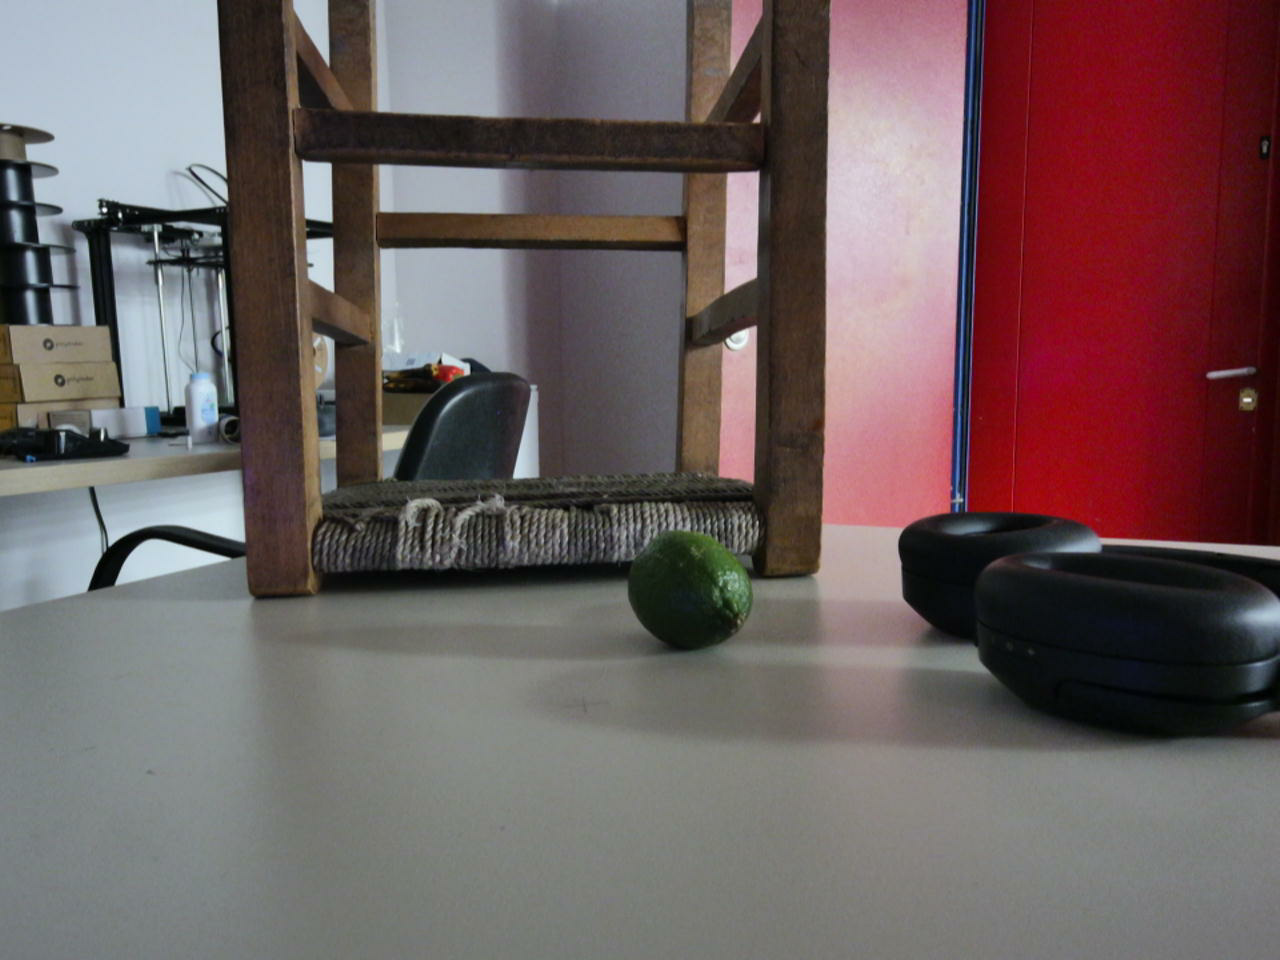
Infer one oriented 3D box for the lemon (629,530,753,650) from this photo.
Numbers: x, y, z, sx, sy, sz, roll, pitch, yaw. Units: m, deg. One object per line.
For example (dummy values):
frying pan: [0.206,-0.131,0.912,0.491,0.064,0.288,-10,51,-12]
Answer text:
lemon: [0.023,0.048,0.447,0.057,0.051,0.054,1,4,21]
